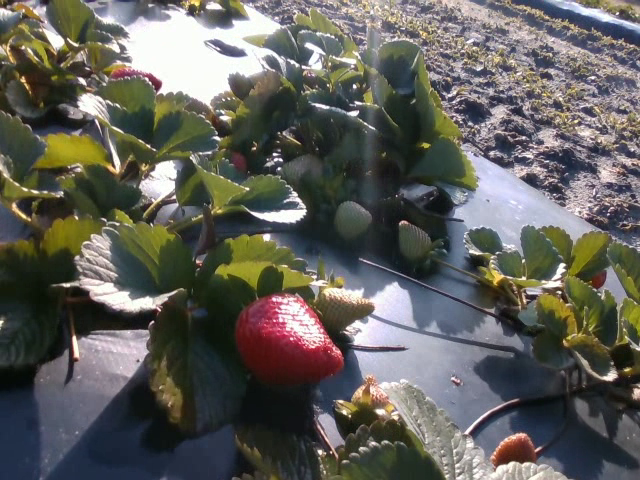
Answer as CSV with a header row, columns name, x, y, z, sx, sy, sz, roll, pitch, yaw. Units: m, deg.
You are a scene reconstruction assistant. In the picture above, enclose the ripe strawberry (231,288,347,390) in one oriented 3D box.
name,x,y,z,sx,sy,sz,roll,pitch,yaw
ripe strawberry,-0.012,0.048,0.289,0.072,0.057,0.055,18,-23,48
